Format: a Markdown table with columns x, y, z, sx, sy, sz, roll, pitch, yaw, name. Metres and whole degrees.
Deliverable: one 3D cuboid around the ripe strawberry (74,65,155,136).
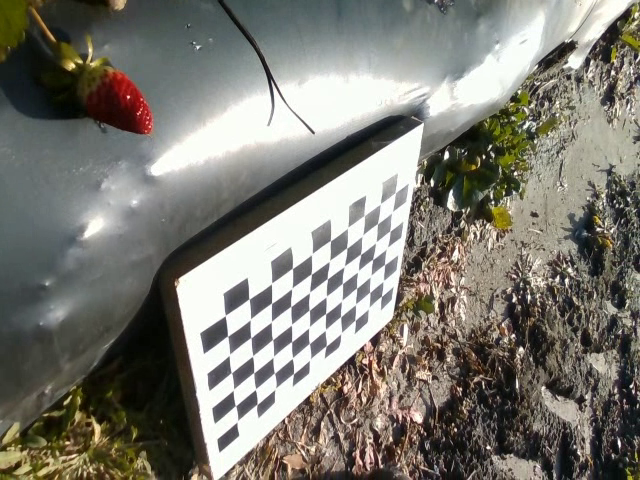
| x | y | z | sx | sy | sz | roll | pitch | yaw | name |
| --- | --- | --- | --- | --- | --- | --- | --- | --- | --- |
| -0.087 | -0.058 | 0.261 | 0.041 | 0.028 | 0.031 | 40 | -13 | -2 | ripe strawberry |
